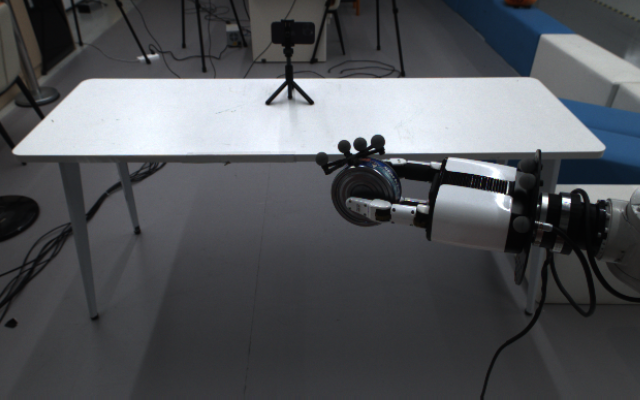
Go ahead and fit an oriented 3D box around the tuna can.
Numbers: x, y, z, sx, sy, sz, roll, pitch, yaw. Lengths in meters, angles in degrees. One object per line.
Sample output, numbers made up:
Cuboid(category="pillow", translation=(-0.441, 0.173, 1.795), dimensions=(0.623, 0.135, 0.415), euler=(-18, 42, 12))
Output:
Cuboid(category="tuna can", translation=(0.060, -0.011, 0.618), dimensions=(0.085, 0.085, 0.034), euler=(15, 30, 17))
